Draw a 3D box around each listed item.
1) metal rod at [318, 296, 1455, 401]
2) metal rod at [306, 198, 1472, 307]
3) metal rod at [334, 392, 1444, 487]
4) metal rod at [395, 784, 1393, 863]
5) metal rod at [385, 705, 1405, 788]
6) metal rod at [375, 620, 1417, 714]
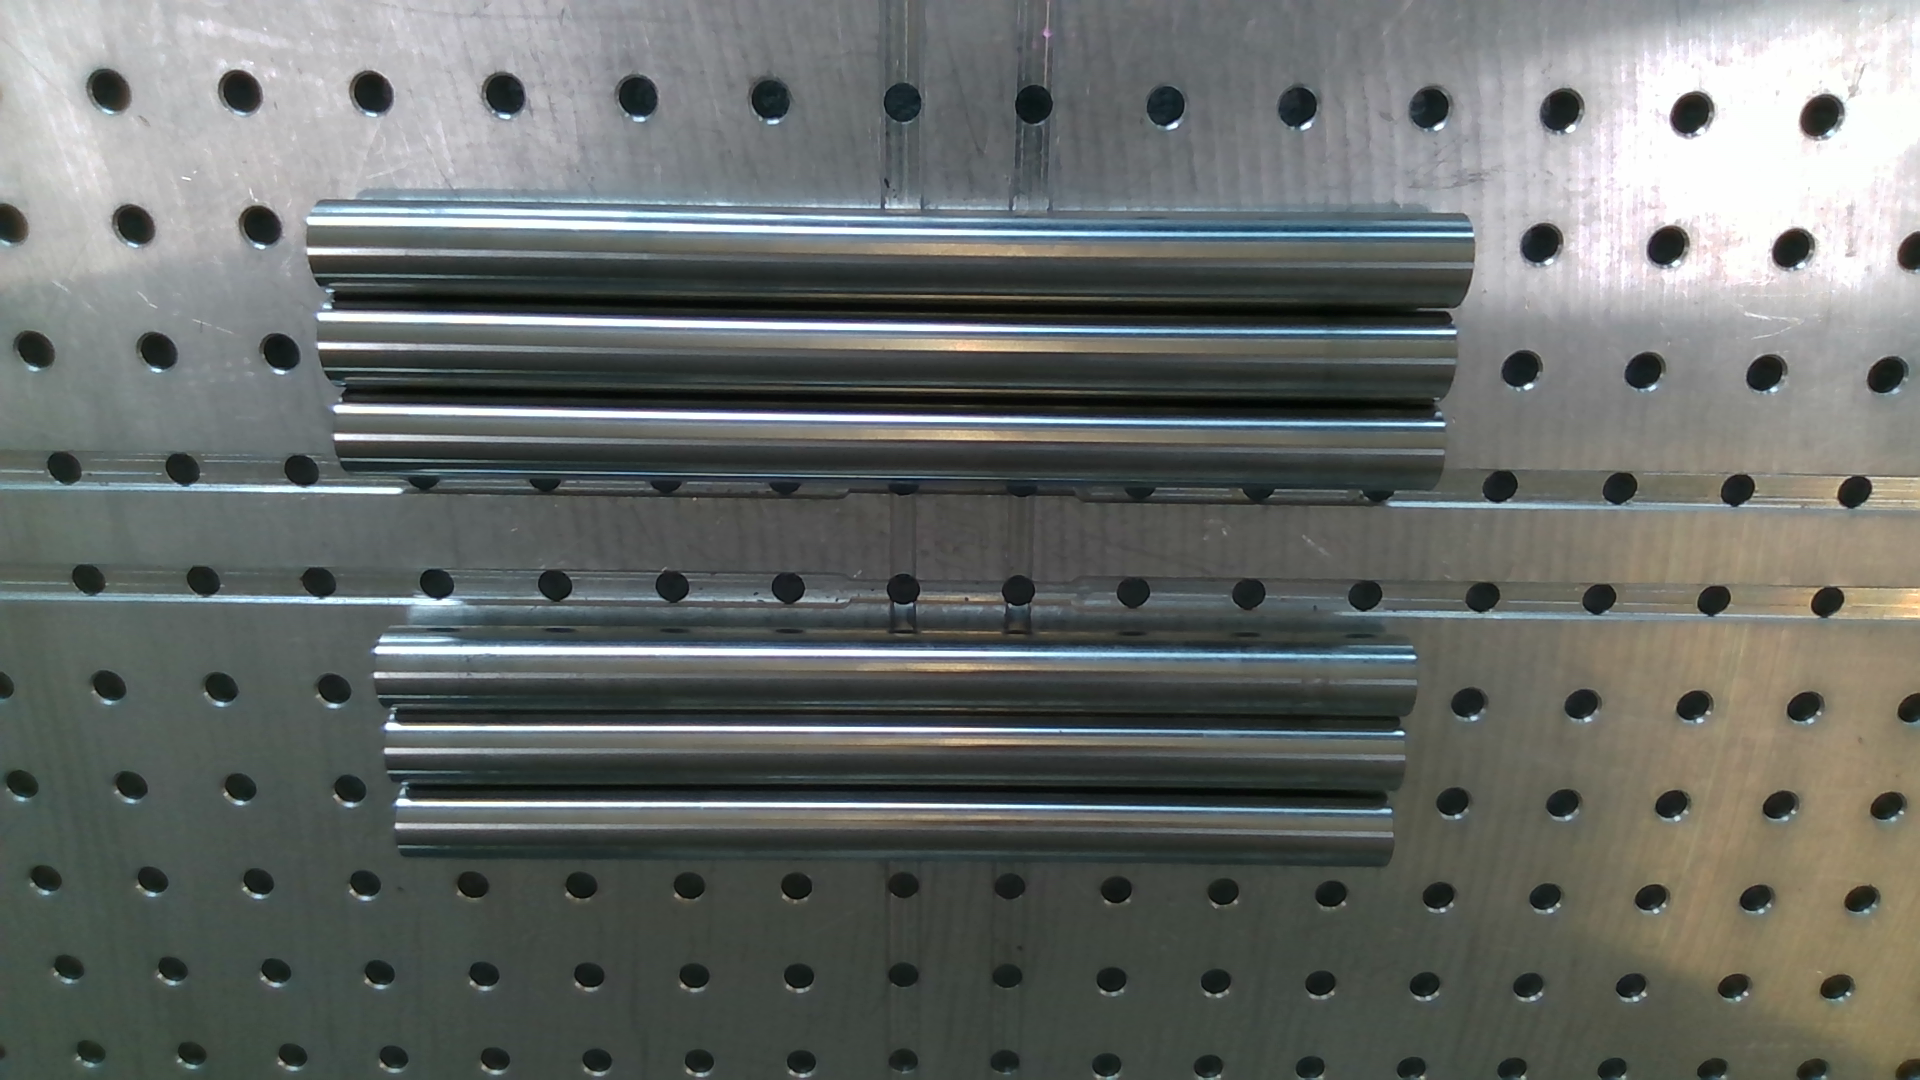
[{"bbox_3d":[-0.019,-0.052,0.376,0.300,0.025,0.025,1,110,0],"label":"metal rod"},{"bbox_3d":[-0.018,-0.077,0.367,0.300,0.025,0.025,1,110,0],"label":"metal rod"},{"bbox_3d":[-0.019,-0.029,0.384,0.300,0.025,0.025,1,110,0],"label":"metal rod"},{"bbox_3d":[-0.020,0.086,0.427,0.300,0.025,0.025,1,110,0],"label":"metal rod"},{"bbox_3d":[-0.019,0.061,0.417,0.300,0.025,0.025,1,110,0],"label":"metal rod"},{"bbox_3d":[-0.018,0.038,0.409,0.300,0.025,0.025,1,110,0],"label":"metal rod"}]
